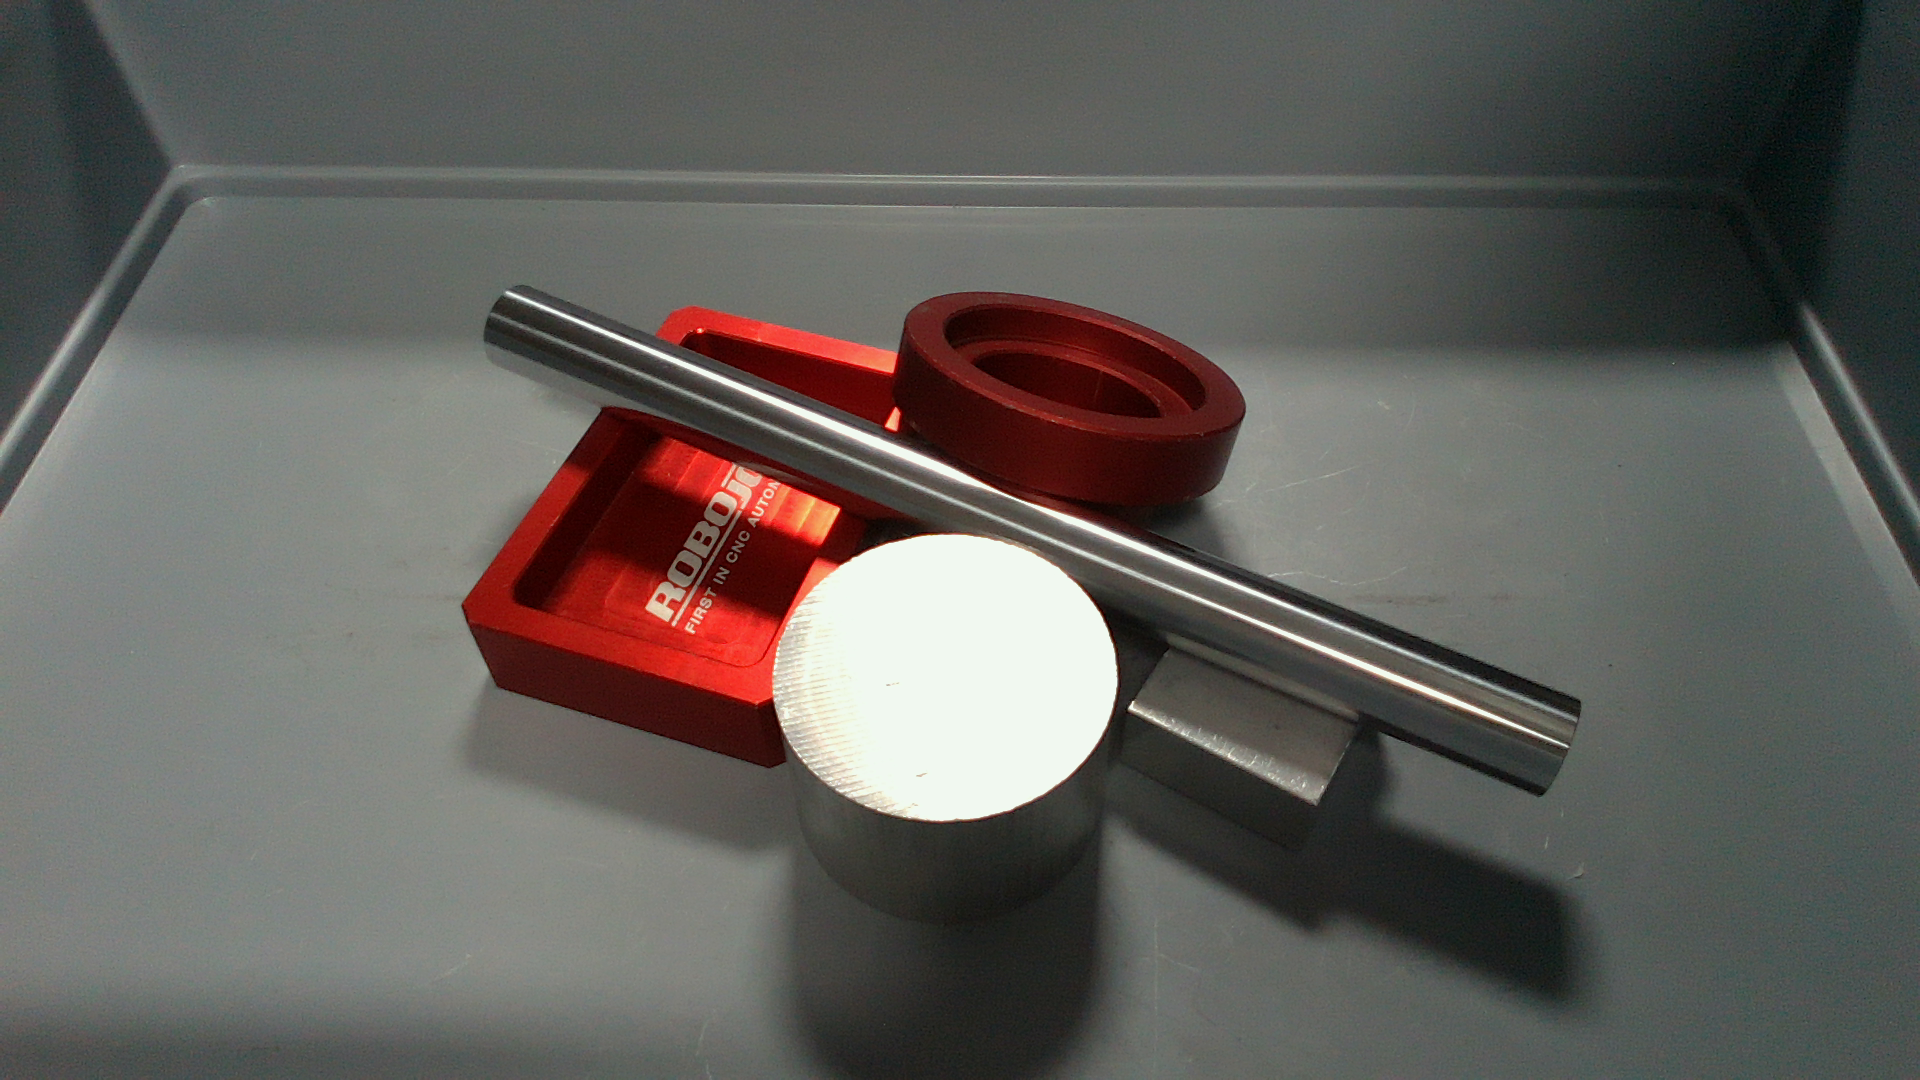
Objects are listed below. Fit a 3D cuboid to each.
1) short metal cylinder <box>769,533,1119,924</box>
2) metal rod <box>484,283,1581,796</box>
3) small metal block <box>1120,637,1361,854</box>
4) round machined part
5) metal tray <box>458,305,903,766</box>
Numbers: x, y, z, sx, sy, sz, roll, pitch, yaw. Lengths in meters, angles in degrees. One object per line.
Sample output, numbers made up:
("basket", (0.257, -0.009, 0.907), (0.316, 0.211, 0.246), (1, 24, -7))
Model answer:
("short metal cylinder", (-0.003, 0.045, 0.335), (0.080, 0.050, 0.080), (0, 50, 0))
("metal rod", (0.005, -0.007, 0.358), (0.299, 0.025, 0.025), (22, 53, 15))
("small metal block", (0.076, 0.043, 0.353), (0.050, 0.025, 0.050), (25, 54, 20))
("round machined part", (0.028, -0.033, 0.391), (0.098, 0.042, 0.098), (11, 27, -6))
("metal tray", (-0.067, -0.008, 0.392), (0.090, 0.030, 0.130), (14, 51, 12))
